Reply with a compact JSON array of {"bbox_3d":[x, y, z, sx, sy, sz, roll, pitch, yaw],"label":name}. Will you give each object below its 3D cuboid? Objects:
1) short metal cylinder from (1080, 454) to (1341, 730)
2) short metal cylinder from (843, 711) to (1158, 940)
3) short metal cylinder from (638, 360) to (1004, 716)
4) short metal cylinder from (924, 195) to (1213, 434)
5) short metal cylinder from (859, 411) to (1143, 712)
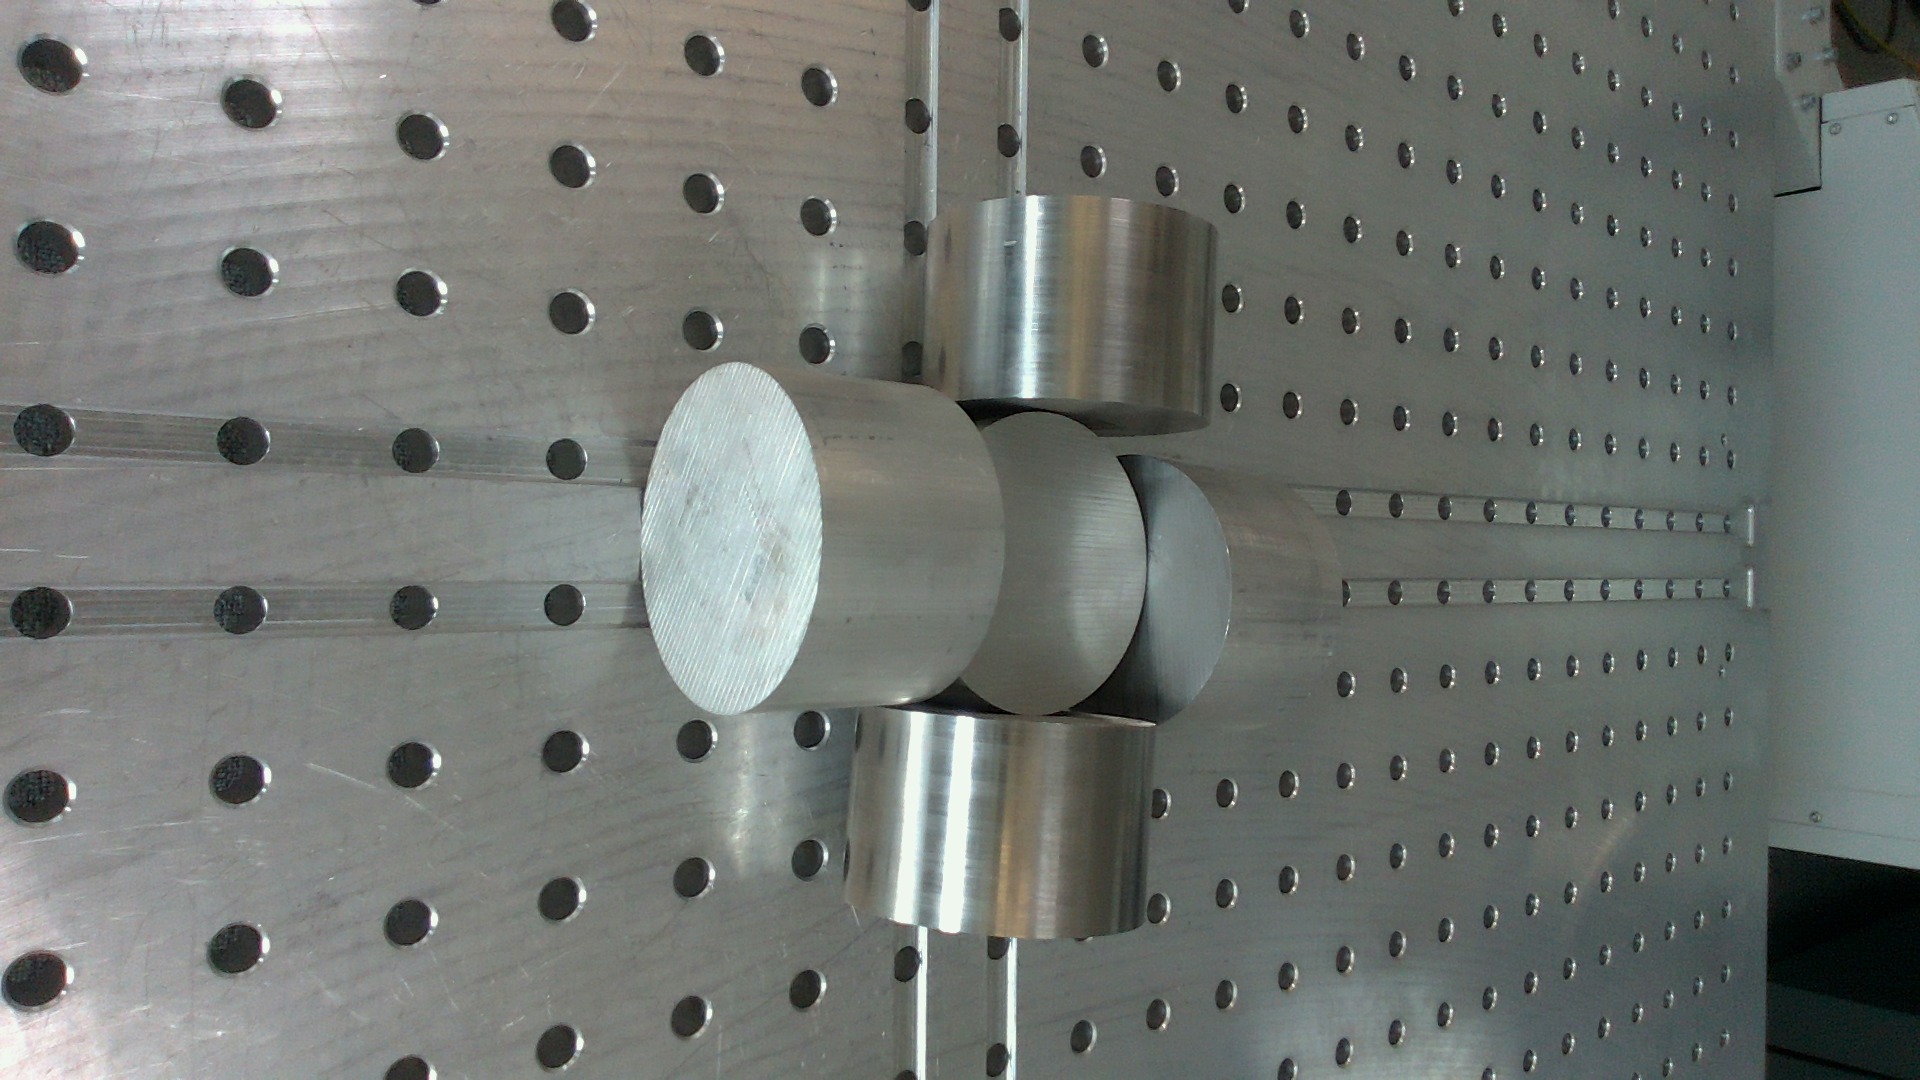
[{"bbox_3d":[0.065,0.017,0.411,0.050,0.080,0.080,5,87,-40],"label":"short metal cylinder"},{"bbox_3d":[0.011,0.071,0.364,0.080,0.080,0.050,8,84,-40],"label":"short metal cylinder"},{"bbox_3d":[-0.035,0.000,0.327,0.050,0.080,0.080,2,89,-41],"label":"short metal cylinder"},{"bbox_3d":[0.029,-0.059,0.380,0.080,0.080,0.050,4,87,-40],"label":"short metal cylinder"},{"bbox_3d":[0.005,0.006,0.381,0.080,0.050,0.080,0,90,-41],"label":"short metal cylinder"}]
